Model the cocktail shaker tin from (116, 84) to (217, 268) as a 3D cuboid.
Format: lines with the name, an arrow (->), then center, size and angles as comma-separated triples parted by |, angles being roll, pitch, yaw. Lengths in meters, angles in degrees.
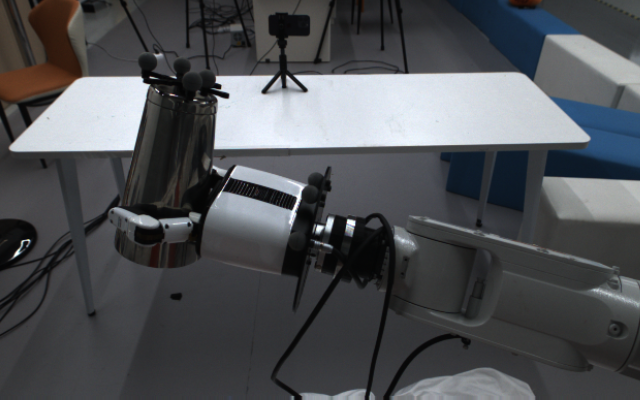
cocktail shaker tin -> -0.151, -0.025, 0.496 | 0.093, 0.170, 0.093 | 14, 20, -5
